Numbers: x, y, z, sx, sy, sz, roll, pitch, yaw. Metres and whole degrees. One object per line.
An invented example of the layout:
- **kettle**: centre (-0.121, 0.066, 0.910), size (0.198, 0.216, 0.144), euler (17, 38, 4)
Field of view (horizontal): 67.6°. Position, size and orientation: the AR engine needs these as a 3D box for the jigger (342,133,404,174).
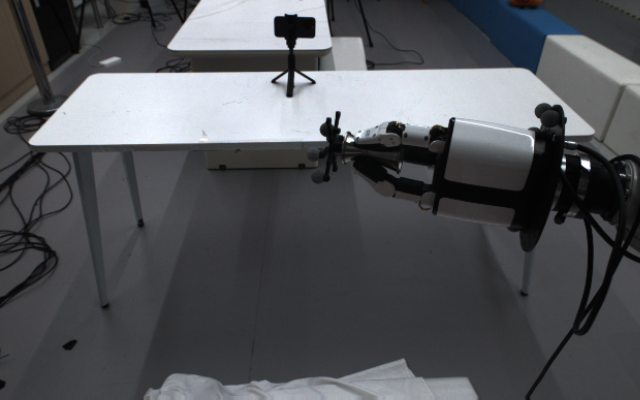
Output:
- **jigger**: centre (0.069, -0.061, 0.571), size (0.071, 0.043, 0.043), euler (9, 35, 16)
